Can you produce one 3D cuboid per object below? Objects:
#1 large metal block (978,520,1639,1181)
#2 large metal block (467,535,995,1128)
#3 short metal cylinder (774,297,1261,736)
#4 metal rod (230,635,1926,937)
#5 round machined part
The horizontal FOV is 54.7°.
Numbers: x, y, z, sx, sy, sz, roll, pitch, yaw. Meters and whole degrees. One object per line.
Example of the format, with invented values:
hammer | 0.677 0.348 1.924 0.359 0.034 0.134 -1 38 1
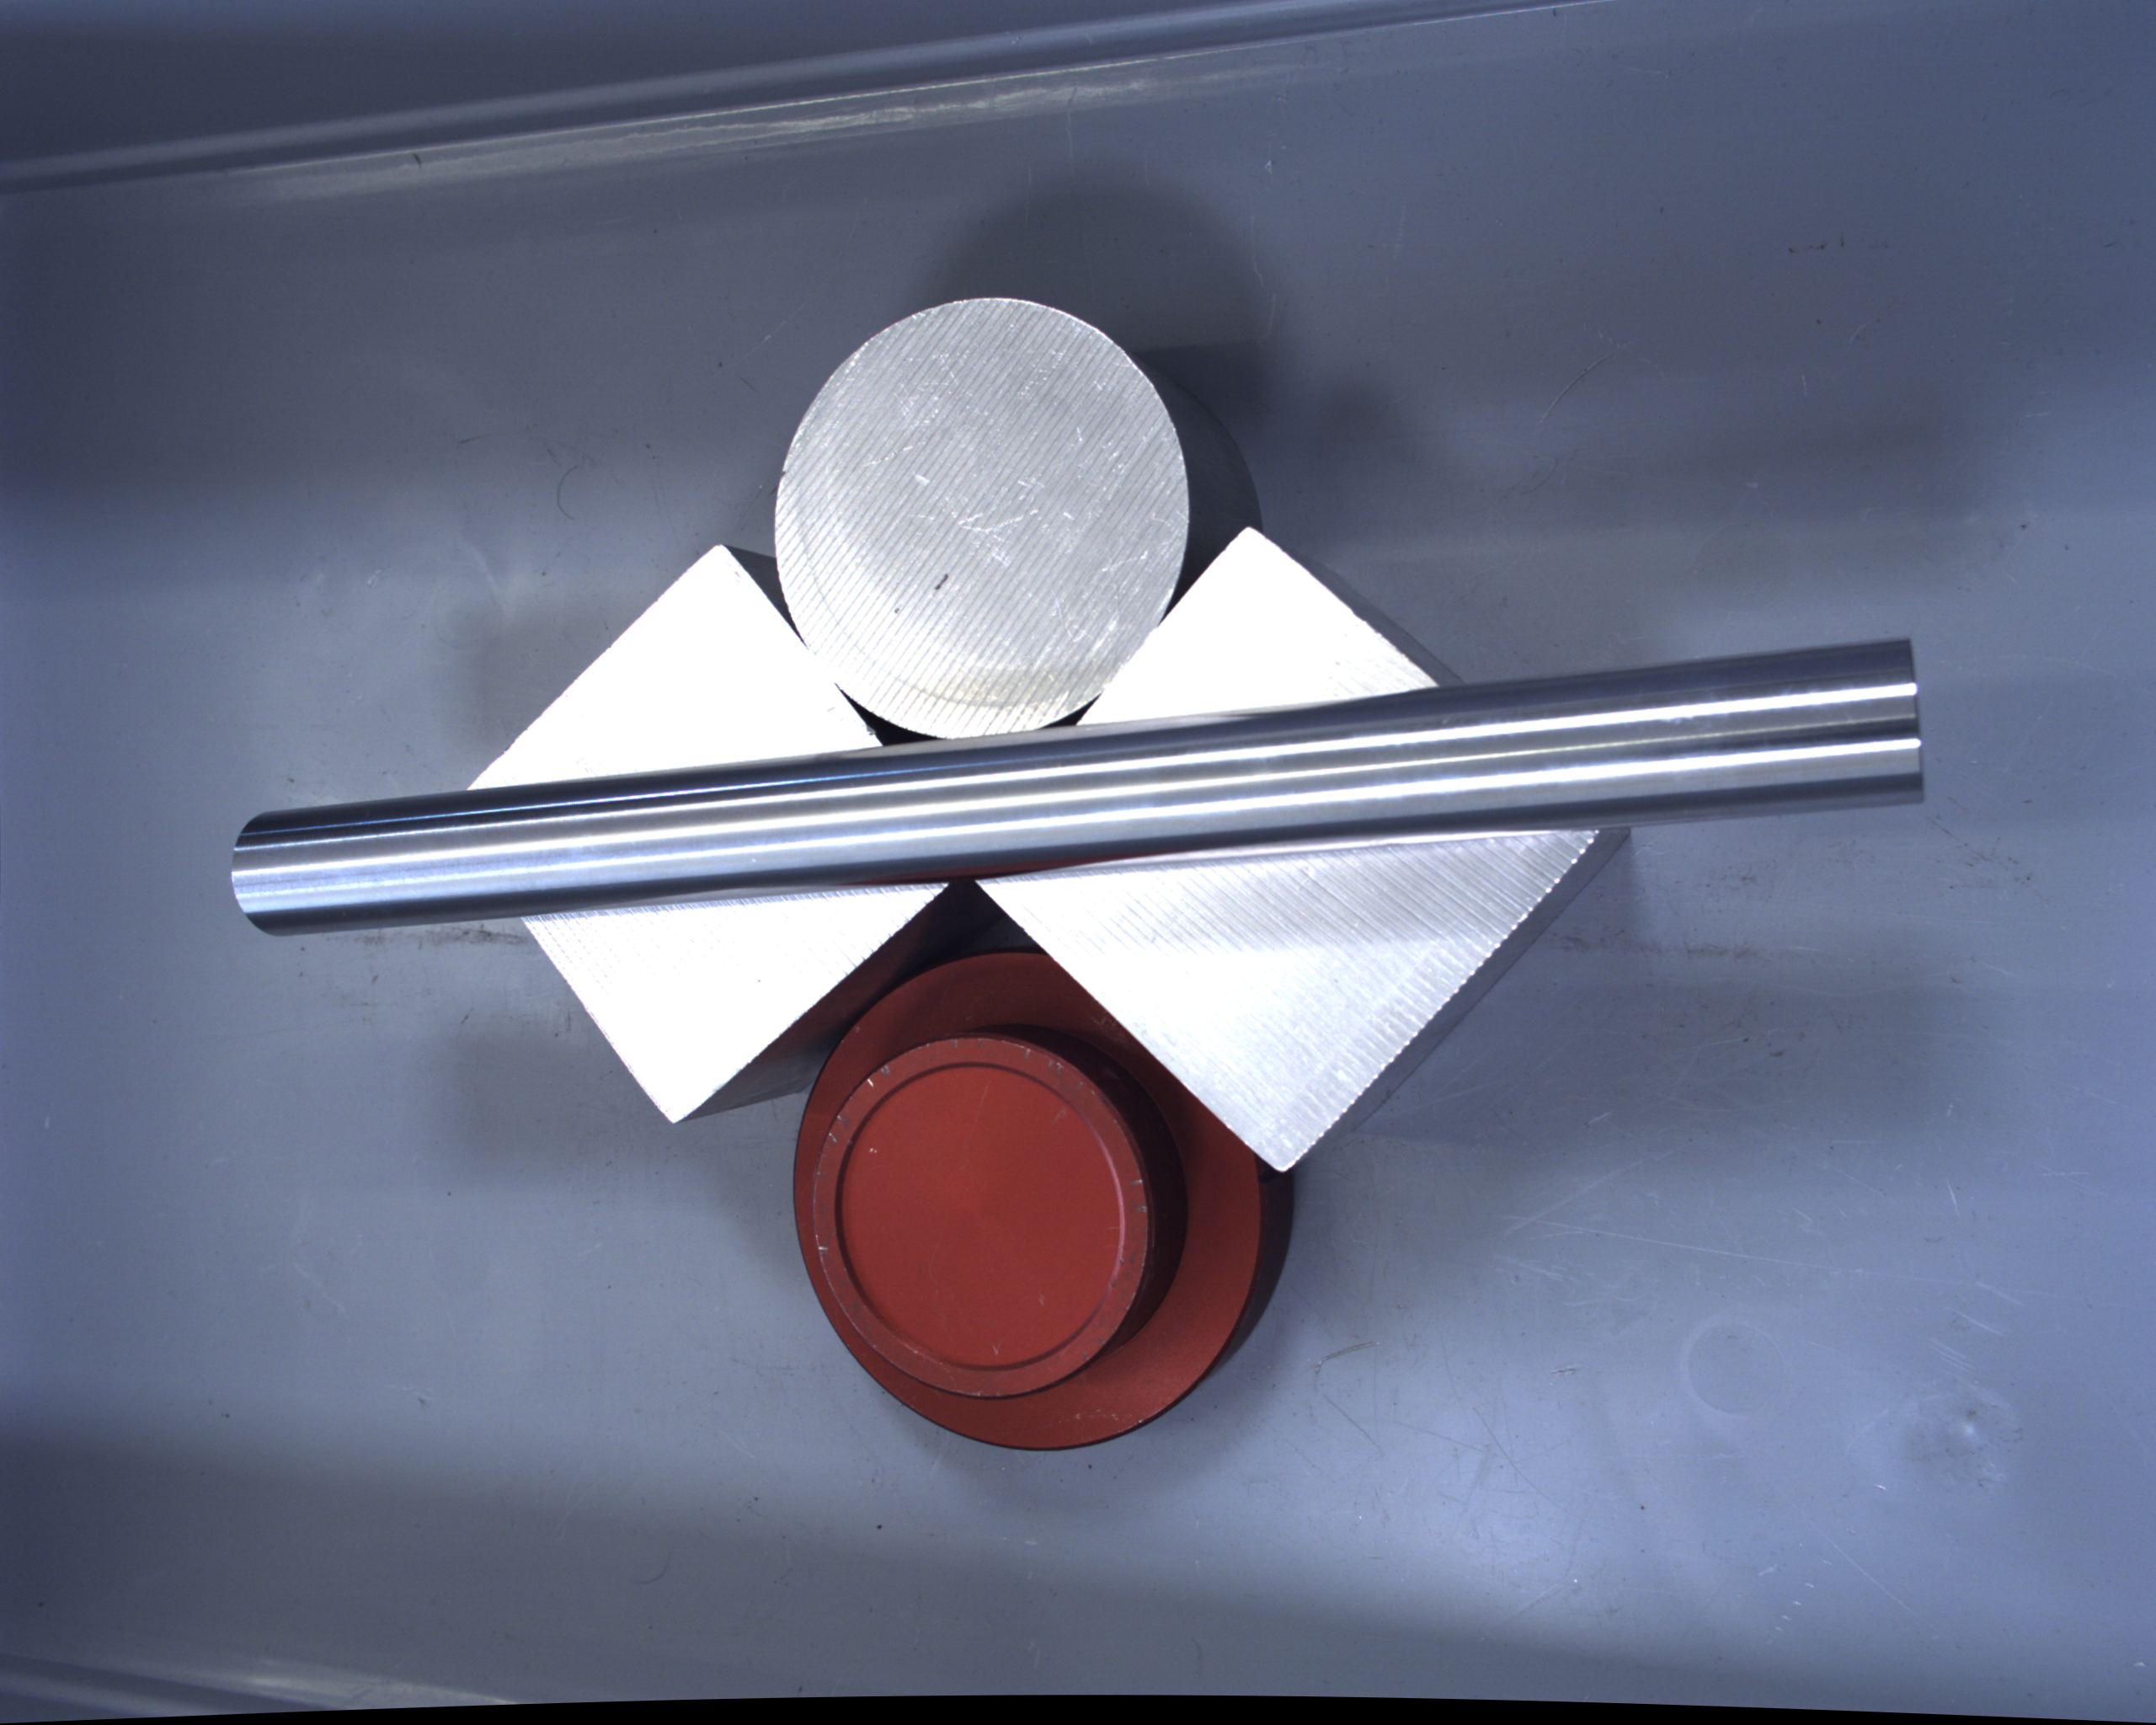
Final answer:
large metal block | 0.041 -0.003 0.378 0.080 0.050 0.080 44 105 14
large metal block | -0.064 -0.006 0.418 0.080 0.050 0.080 -41 79 15
short metal cylinder | -0.010 -0.062 0.399 0.080 0.050 0.079 0 90 20
metal rod | -0.017 -0.009 0.359 0.301 0.025 0.025 -5 89 20
round machined part | -0.012 0.065 0.403 0.098 0.042 0.097 0 90 19
